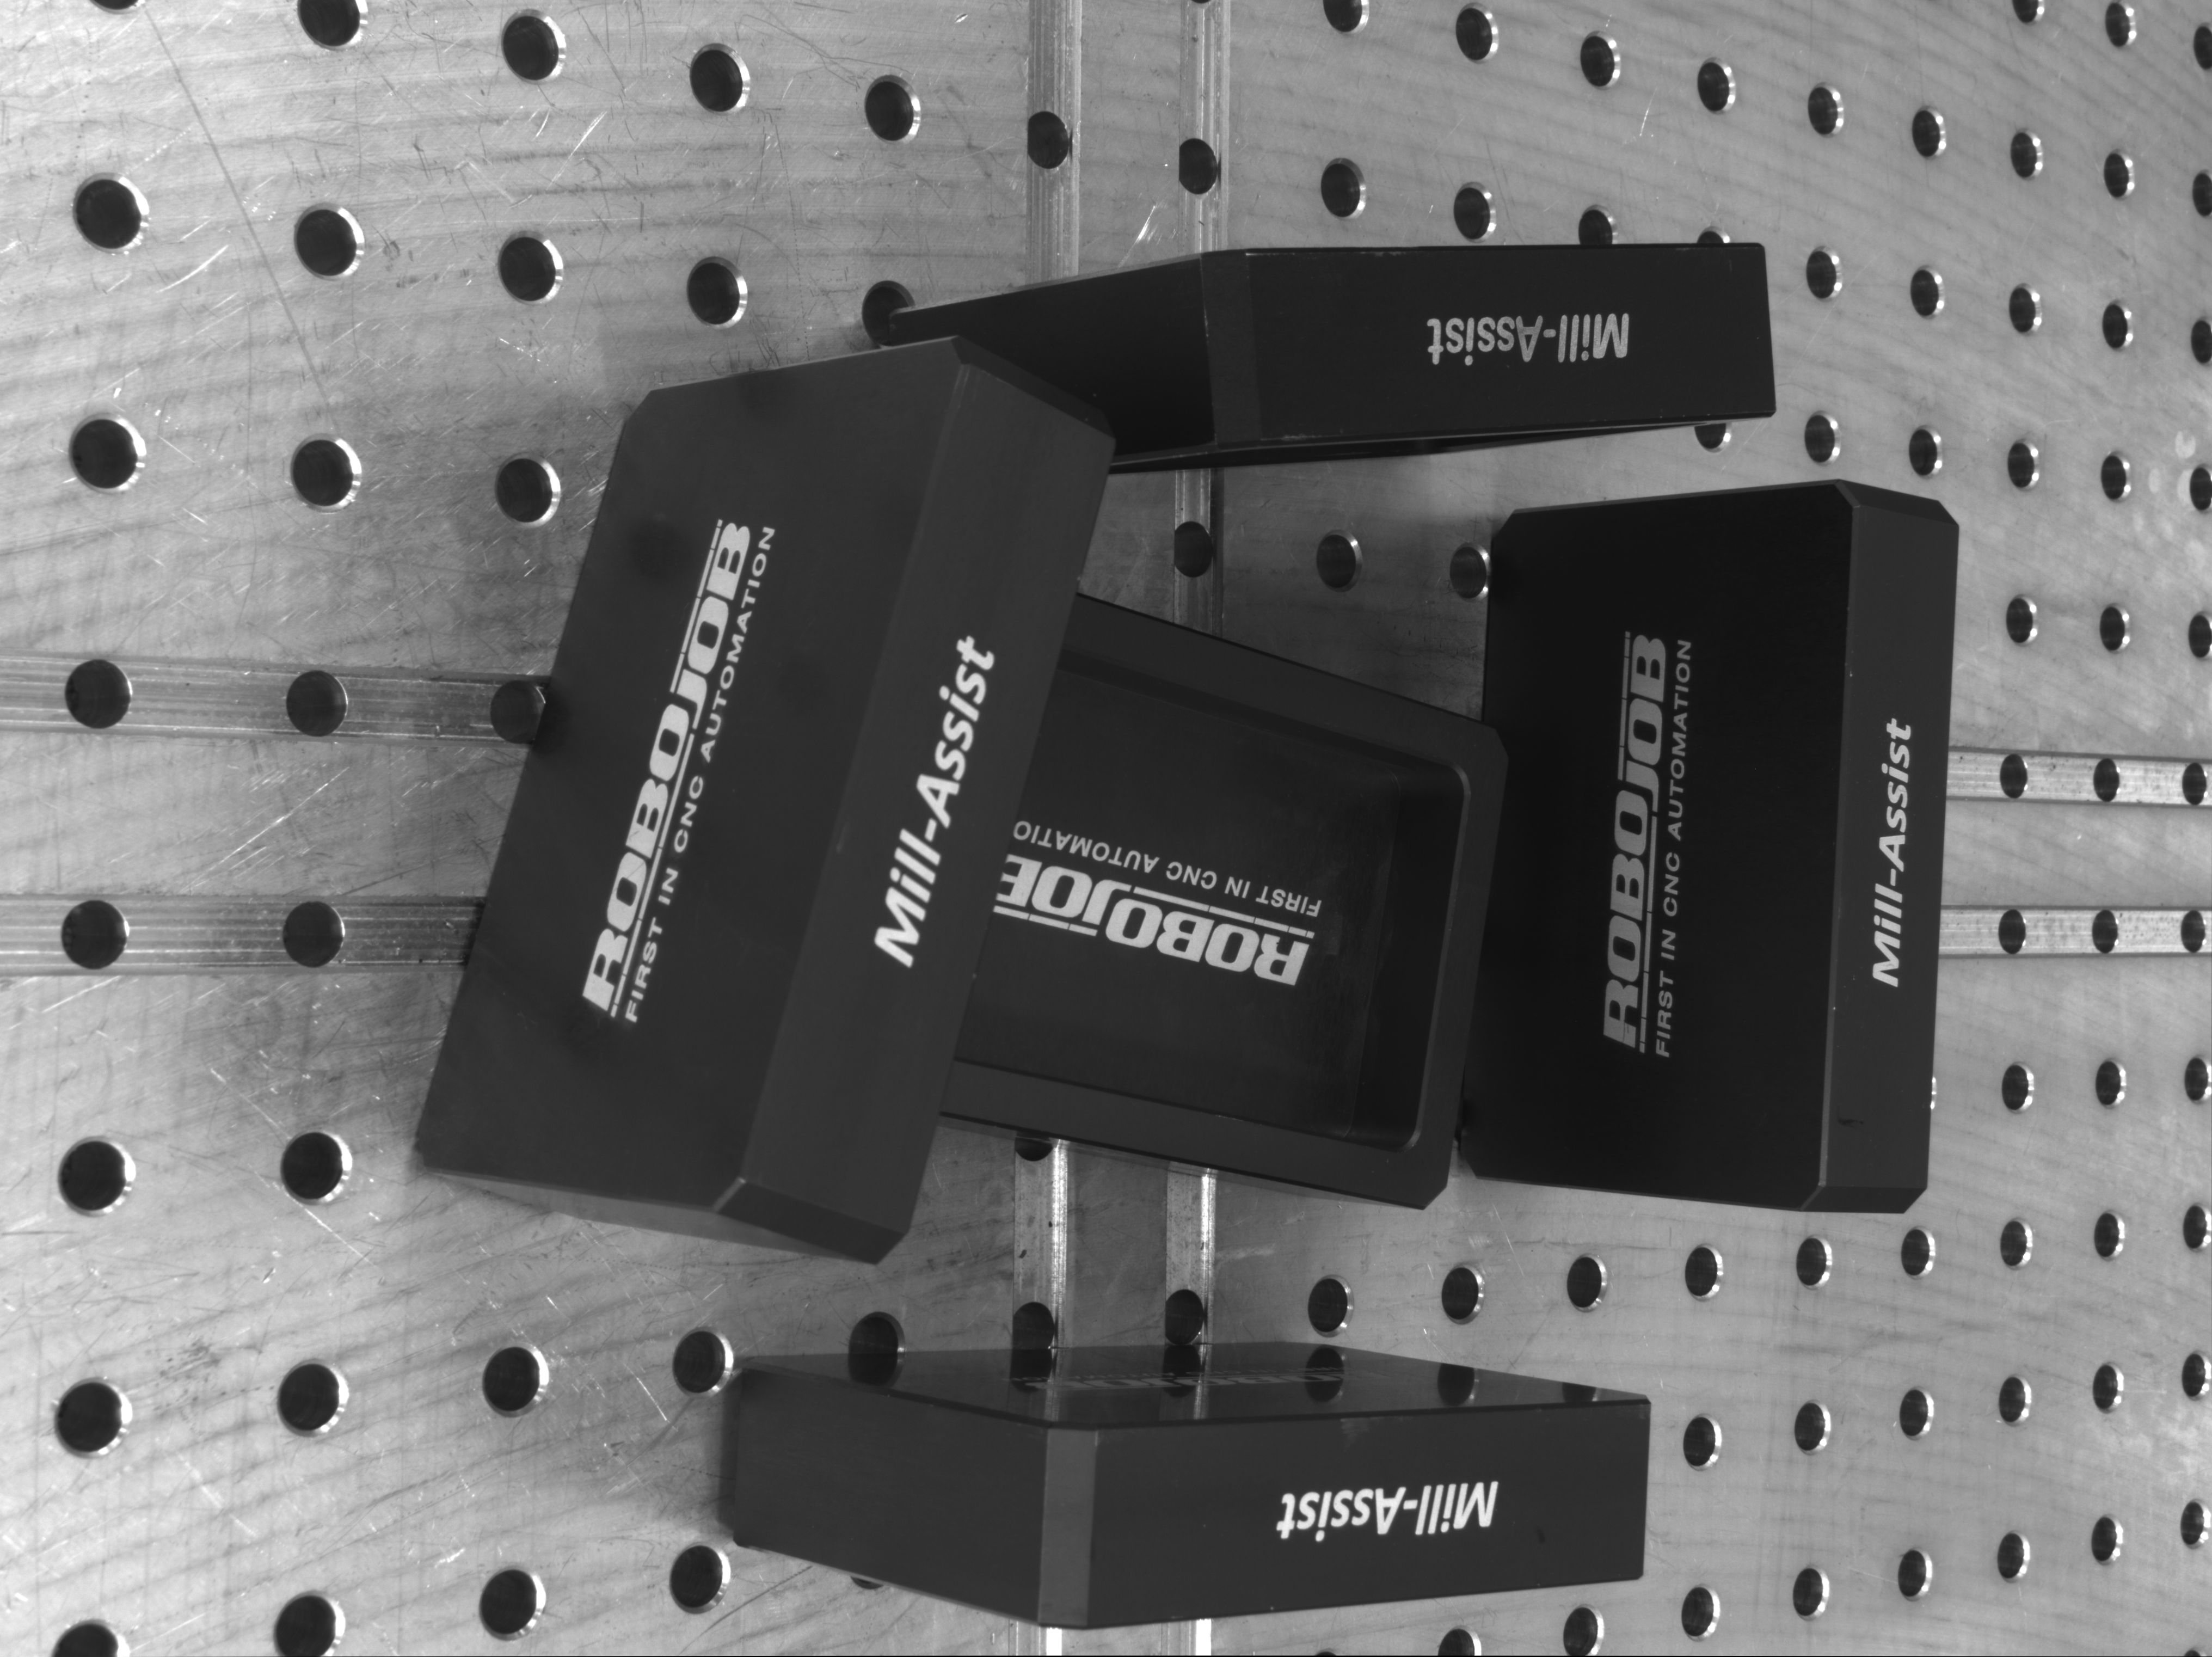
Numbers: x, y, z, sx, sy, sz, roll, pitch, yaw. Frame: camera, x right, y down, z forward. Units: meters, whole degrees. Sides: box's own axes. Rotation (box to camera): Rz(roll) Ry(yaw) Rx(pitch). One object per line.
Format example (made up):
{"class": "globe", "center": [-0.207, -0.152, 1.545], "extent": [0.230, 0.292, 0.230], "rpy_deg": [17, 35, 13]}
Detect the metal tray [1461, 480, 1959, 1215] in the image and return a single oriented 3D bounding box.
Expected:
{"class": "metal tray", "center": [0.112, 0.004, 0.690], "extent": [0.030, 0.090, 0.130], "rpy_deg": [6, 86, -40]}

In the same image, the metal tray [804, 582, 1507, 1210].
{"class": "metal tray", "center": [0.010, 0.013, 0.643], "extent": [0.130, 0.030, 0.090], "rpy_deg": [15, 81, -39]}

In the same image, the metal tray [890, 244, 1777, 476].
{"class": "metal tray", "center": [0.040, -0.079, 0.630], "extent": [0.130, 0.090, 0.030], "rpy_deg": [-8, 95, -39]}

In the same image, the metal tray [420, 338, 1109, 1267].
{"class": "metal tray", "center": [-0.053, -0.004, 0.553], "extent": [0.030, 0.090, 0.130], "rpy_deg": [23, 75, -37]}

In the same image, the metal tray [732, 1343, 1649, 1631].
{"class": "metal tray", "center": [0.015, 0.107, 0.610], "extent": [0.130, 0.090, 0.030], "rpy_deg": [5, 87, -39]}
